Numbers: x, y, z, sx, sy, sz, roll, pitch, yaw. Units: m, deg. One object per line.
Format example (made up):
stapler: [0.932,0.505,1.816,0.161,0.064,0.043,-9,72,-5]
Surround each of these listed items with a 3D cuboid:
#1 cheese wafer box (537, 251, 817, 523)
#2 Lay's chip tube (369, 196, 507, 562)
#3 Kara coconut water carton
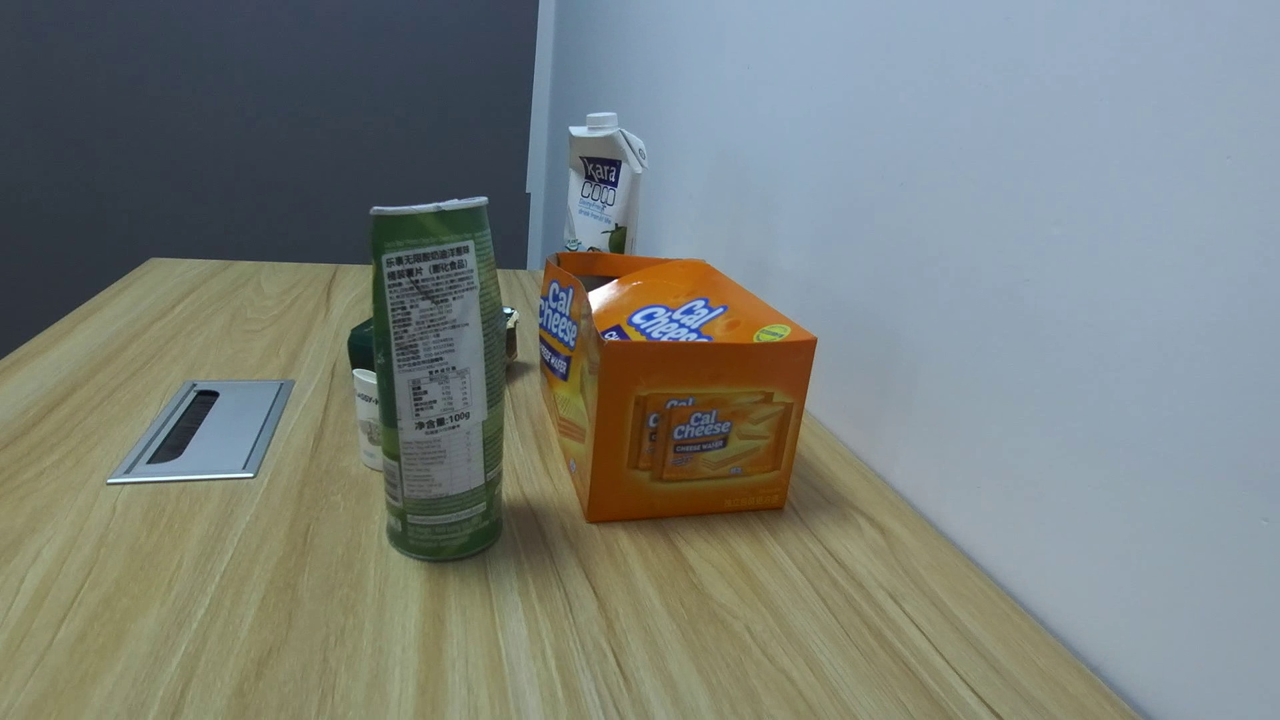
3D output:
cheese wafer box: [0.010,0.007,0.545,0.153,0.132,0.229,-2,23,-16]
Lay's chip tube: [-0.107,0.011,0.395,0.069,0.201,0.077,1,19,-13]
Kara coconut water carton: [-0.039,-0.126,0.717,0.114,0.238,0.069,22,26,37]
